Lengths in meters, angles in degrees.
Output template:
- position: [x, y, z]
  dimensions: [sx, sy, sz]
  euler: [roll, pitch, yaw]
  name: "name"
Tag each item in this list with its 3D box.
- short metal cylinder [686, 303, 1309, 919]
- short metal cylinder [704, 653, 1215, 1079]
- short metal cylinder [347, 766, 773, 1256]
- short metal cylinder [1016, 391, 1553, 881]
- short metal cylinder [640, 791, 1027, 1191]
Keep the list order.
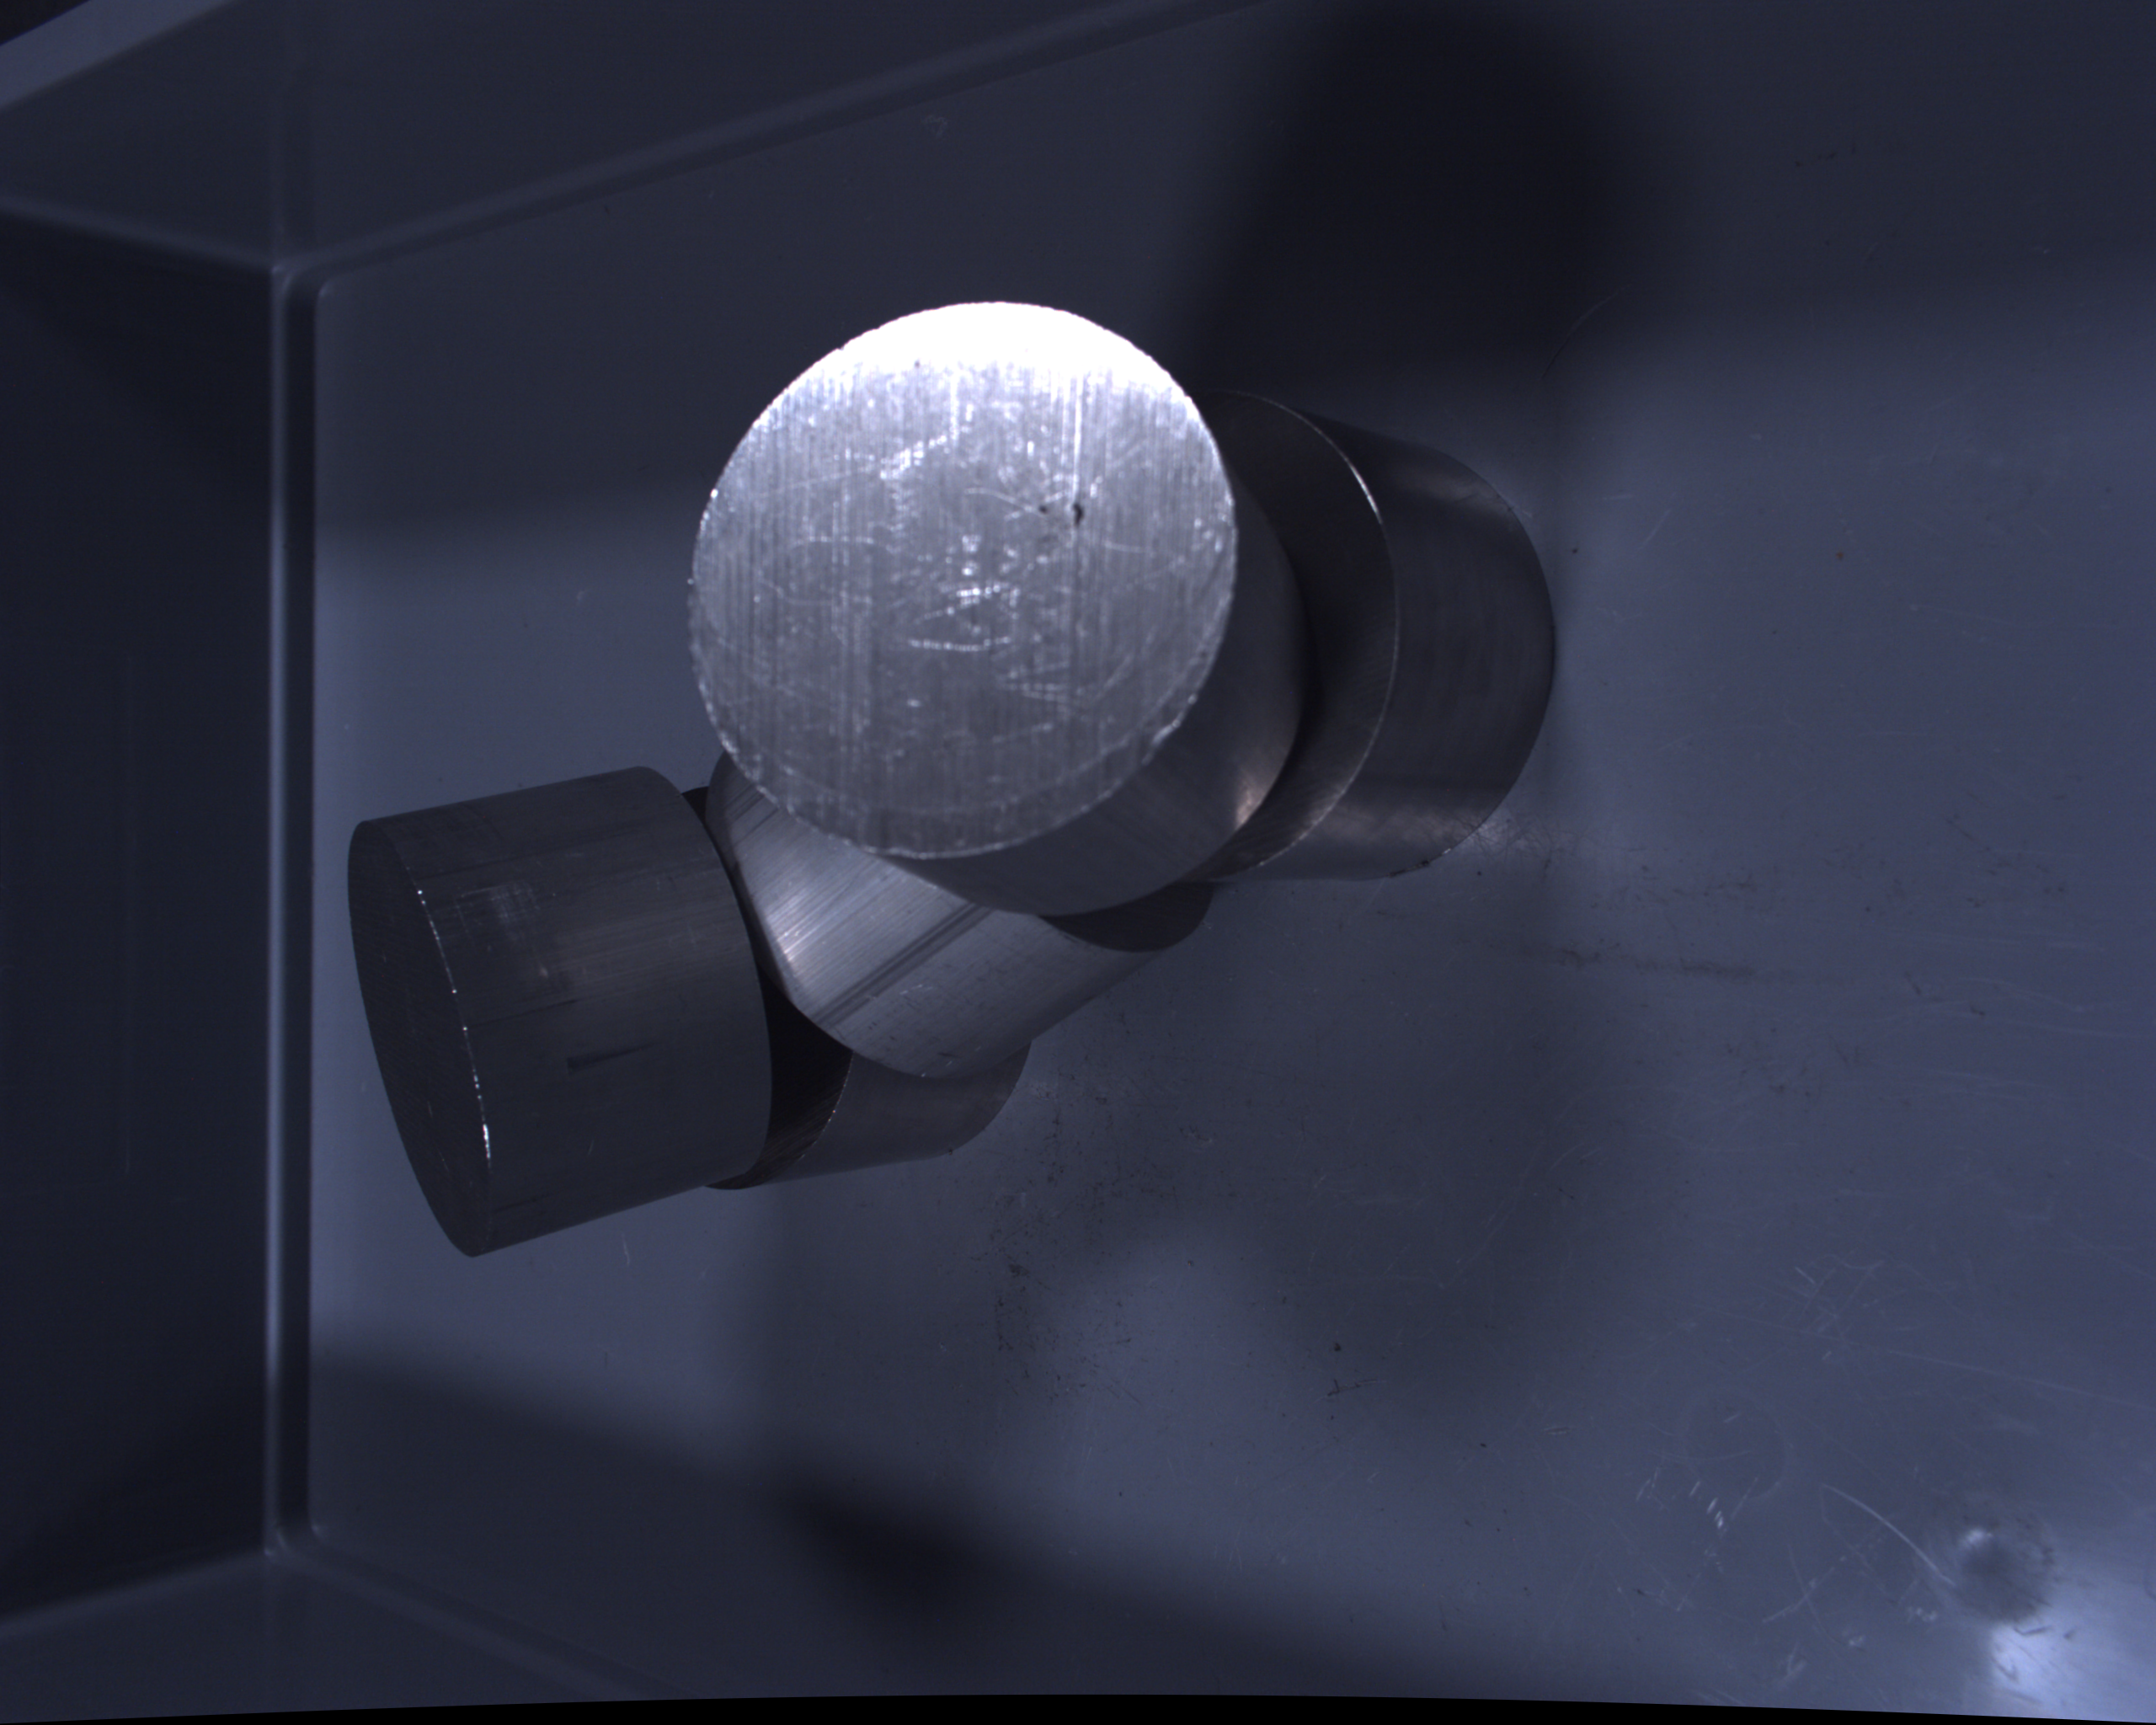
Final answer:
- position: [-0.010, -0.035, 0.310]
  dimensions: [0.080, 0.050, 0.080]
  euler: [-4, 77, 17]
  name: "short metal cylinder"
- position: [-0.021, -0.007, 0.384]
  dimensions: [0.050, 0.081, 0.080]
  euler: [-36, 68, 34]
  name: "short metal cylinder"
- position: [-0.096, 0.026, 0.381]
  dimensions: [0.080, 0.050, 0.079]
  euler: [31, 128, 51]
  name: "short metal cylinder"
- position: [0.034, -0.037, 0.359]
  dimensions: [0.080, 0.050, 0.079]
  euler: [0, 90, 39]
  name: "short metal cylinder"
- position: [-0.055, 0.025, 0.432]
  dimensions: [0.080, 0.050, 0.079]
  euler: [0, 90, 39]
  name: "short metal cylinder"
